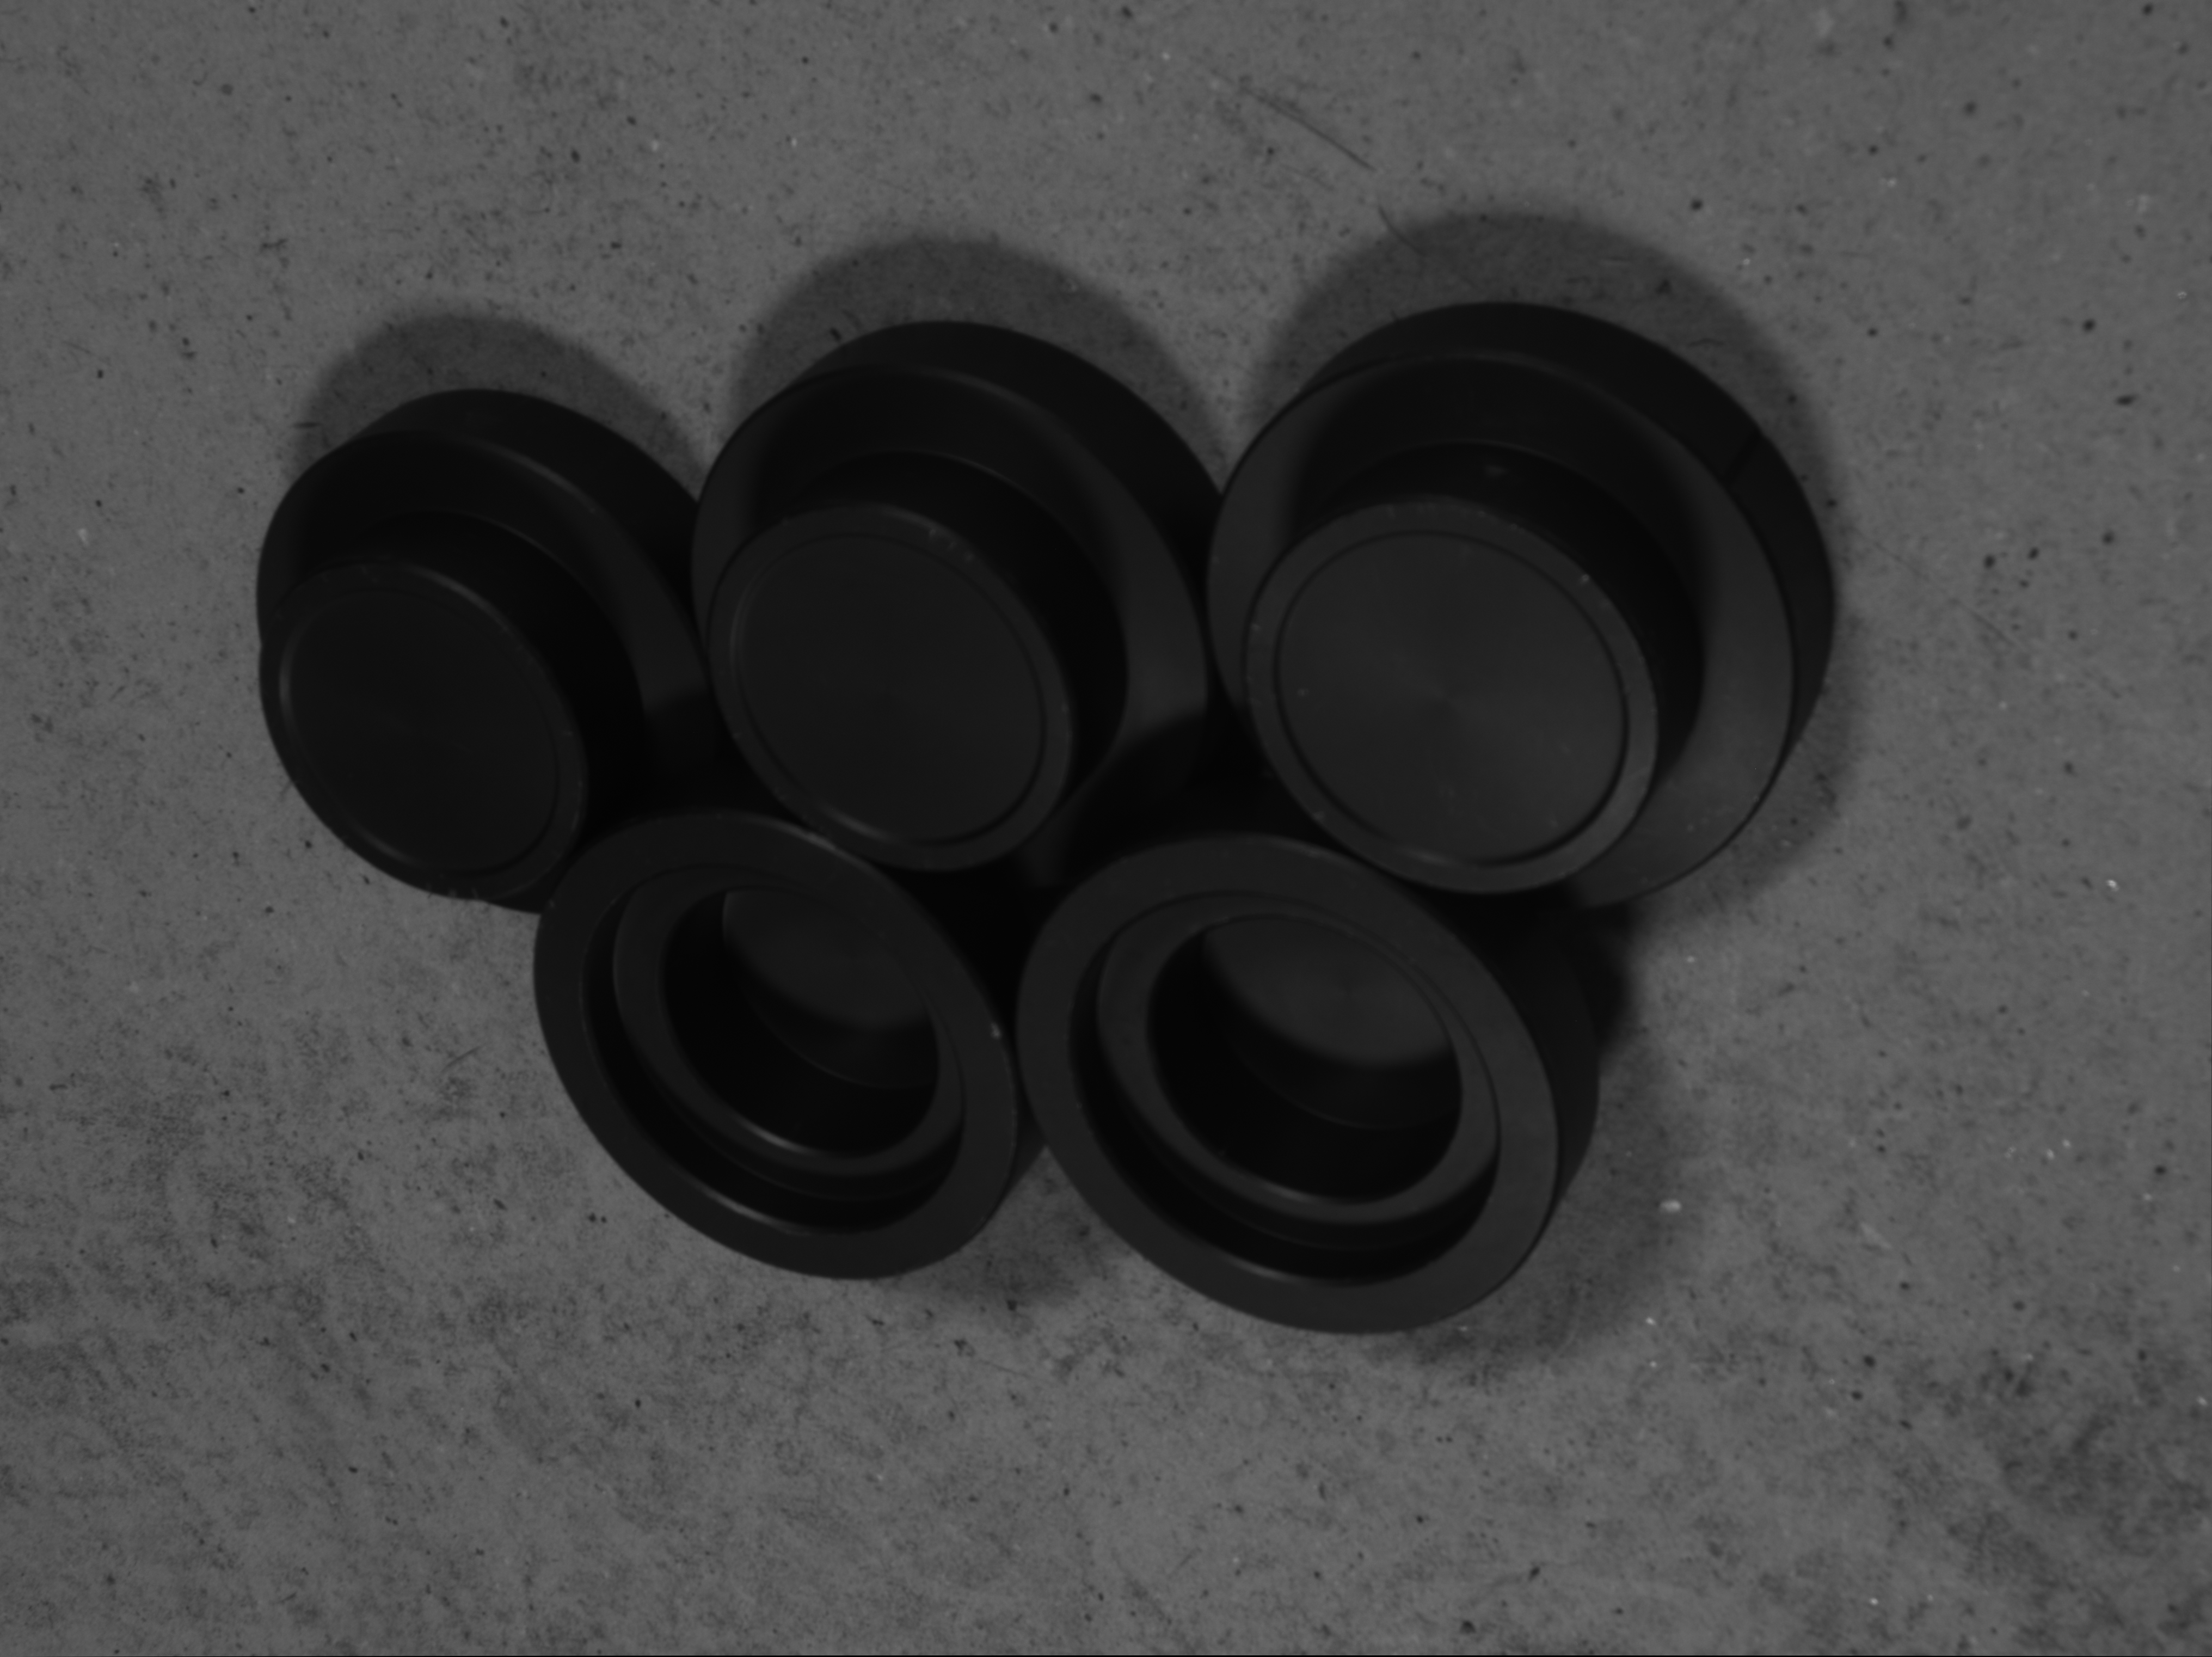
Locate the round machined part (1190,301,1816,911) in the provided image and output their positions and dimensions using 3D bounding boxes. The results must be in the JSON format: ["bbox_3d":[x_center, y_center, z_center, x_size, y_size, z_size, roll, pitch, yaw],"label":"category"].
[{"bbox_3d":[0.058,-0.029,0.574,0.098,0.042,0.098,12,123,20],"label":"round machined part"}]

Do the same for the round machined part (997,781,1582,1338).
[{"bbox_3d":[0.034,0.035,0.624,0.098,0.042,0.098,12,123,20],"label":"round machined part"}]

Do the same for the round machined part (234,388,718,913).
[{"bbox_3d":[-0.117,-0.026,0.663,0.098,0.042,0.098,12,123,20],"label":"round machined part"}]

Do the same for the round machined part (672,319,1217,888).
[{"bbox_3d":[-0.031,-0.032,0.616,0.098,0.042,0.098,12,123,20],"label":"round machined part"}]

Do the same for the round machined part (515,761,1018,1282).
[{"bbox_3d":[-0.055,0.031,0.666,0.098,0.042,0.098,12,123,20],"label":"round machined part"}]
